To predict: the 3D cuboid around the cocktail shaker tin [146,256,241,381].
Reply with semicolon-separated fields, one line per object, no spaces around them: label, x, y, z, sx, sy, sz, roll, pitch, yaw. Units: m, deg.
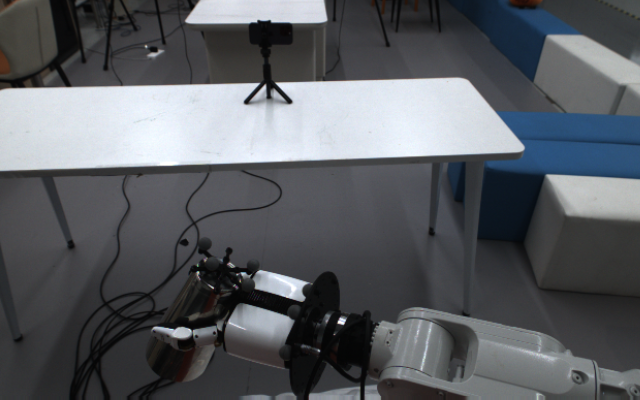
cocktail shaker tin;-0.168;0.160;0.668;0.093;0.170;0.093;25;29;-15
